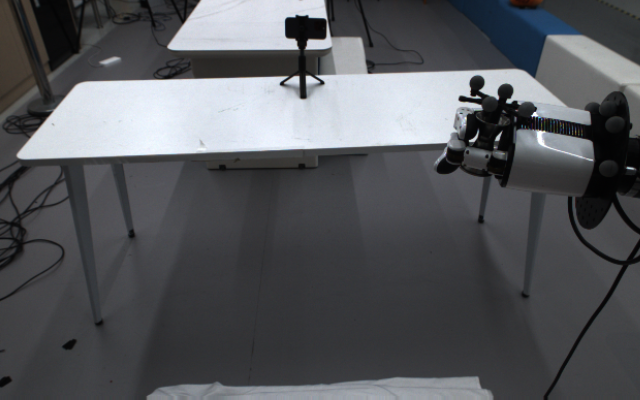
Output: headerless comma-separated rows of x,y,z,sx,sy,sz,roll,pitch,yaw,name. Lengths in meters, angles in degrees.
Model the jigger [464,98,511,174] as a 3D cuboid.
0.199,-0.068,0.588,0.043,0.071,0.043,7,32,-4,jigger
